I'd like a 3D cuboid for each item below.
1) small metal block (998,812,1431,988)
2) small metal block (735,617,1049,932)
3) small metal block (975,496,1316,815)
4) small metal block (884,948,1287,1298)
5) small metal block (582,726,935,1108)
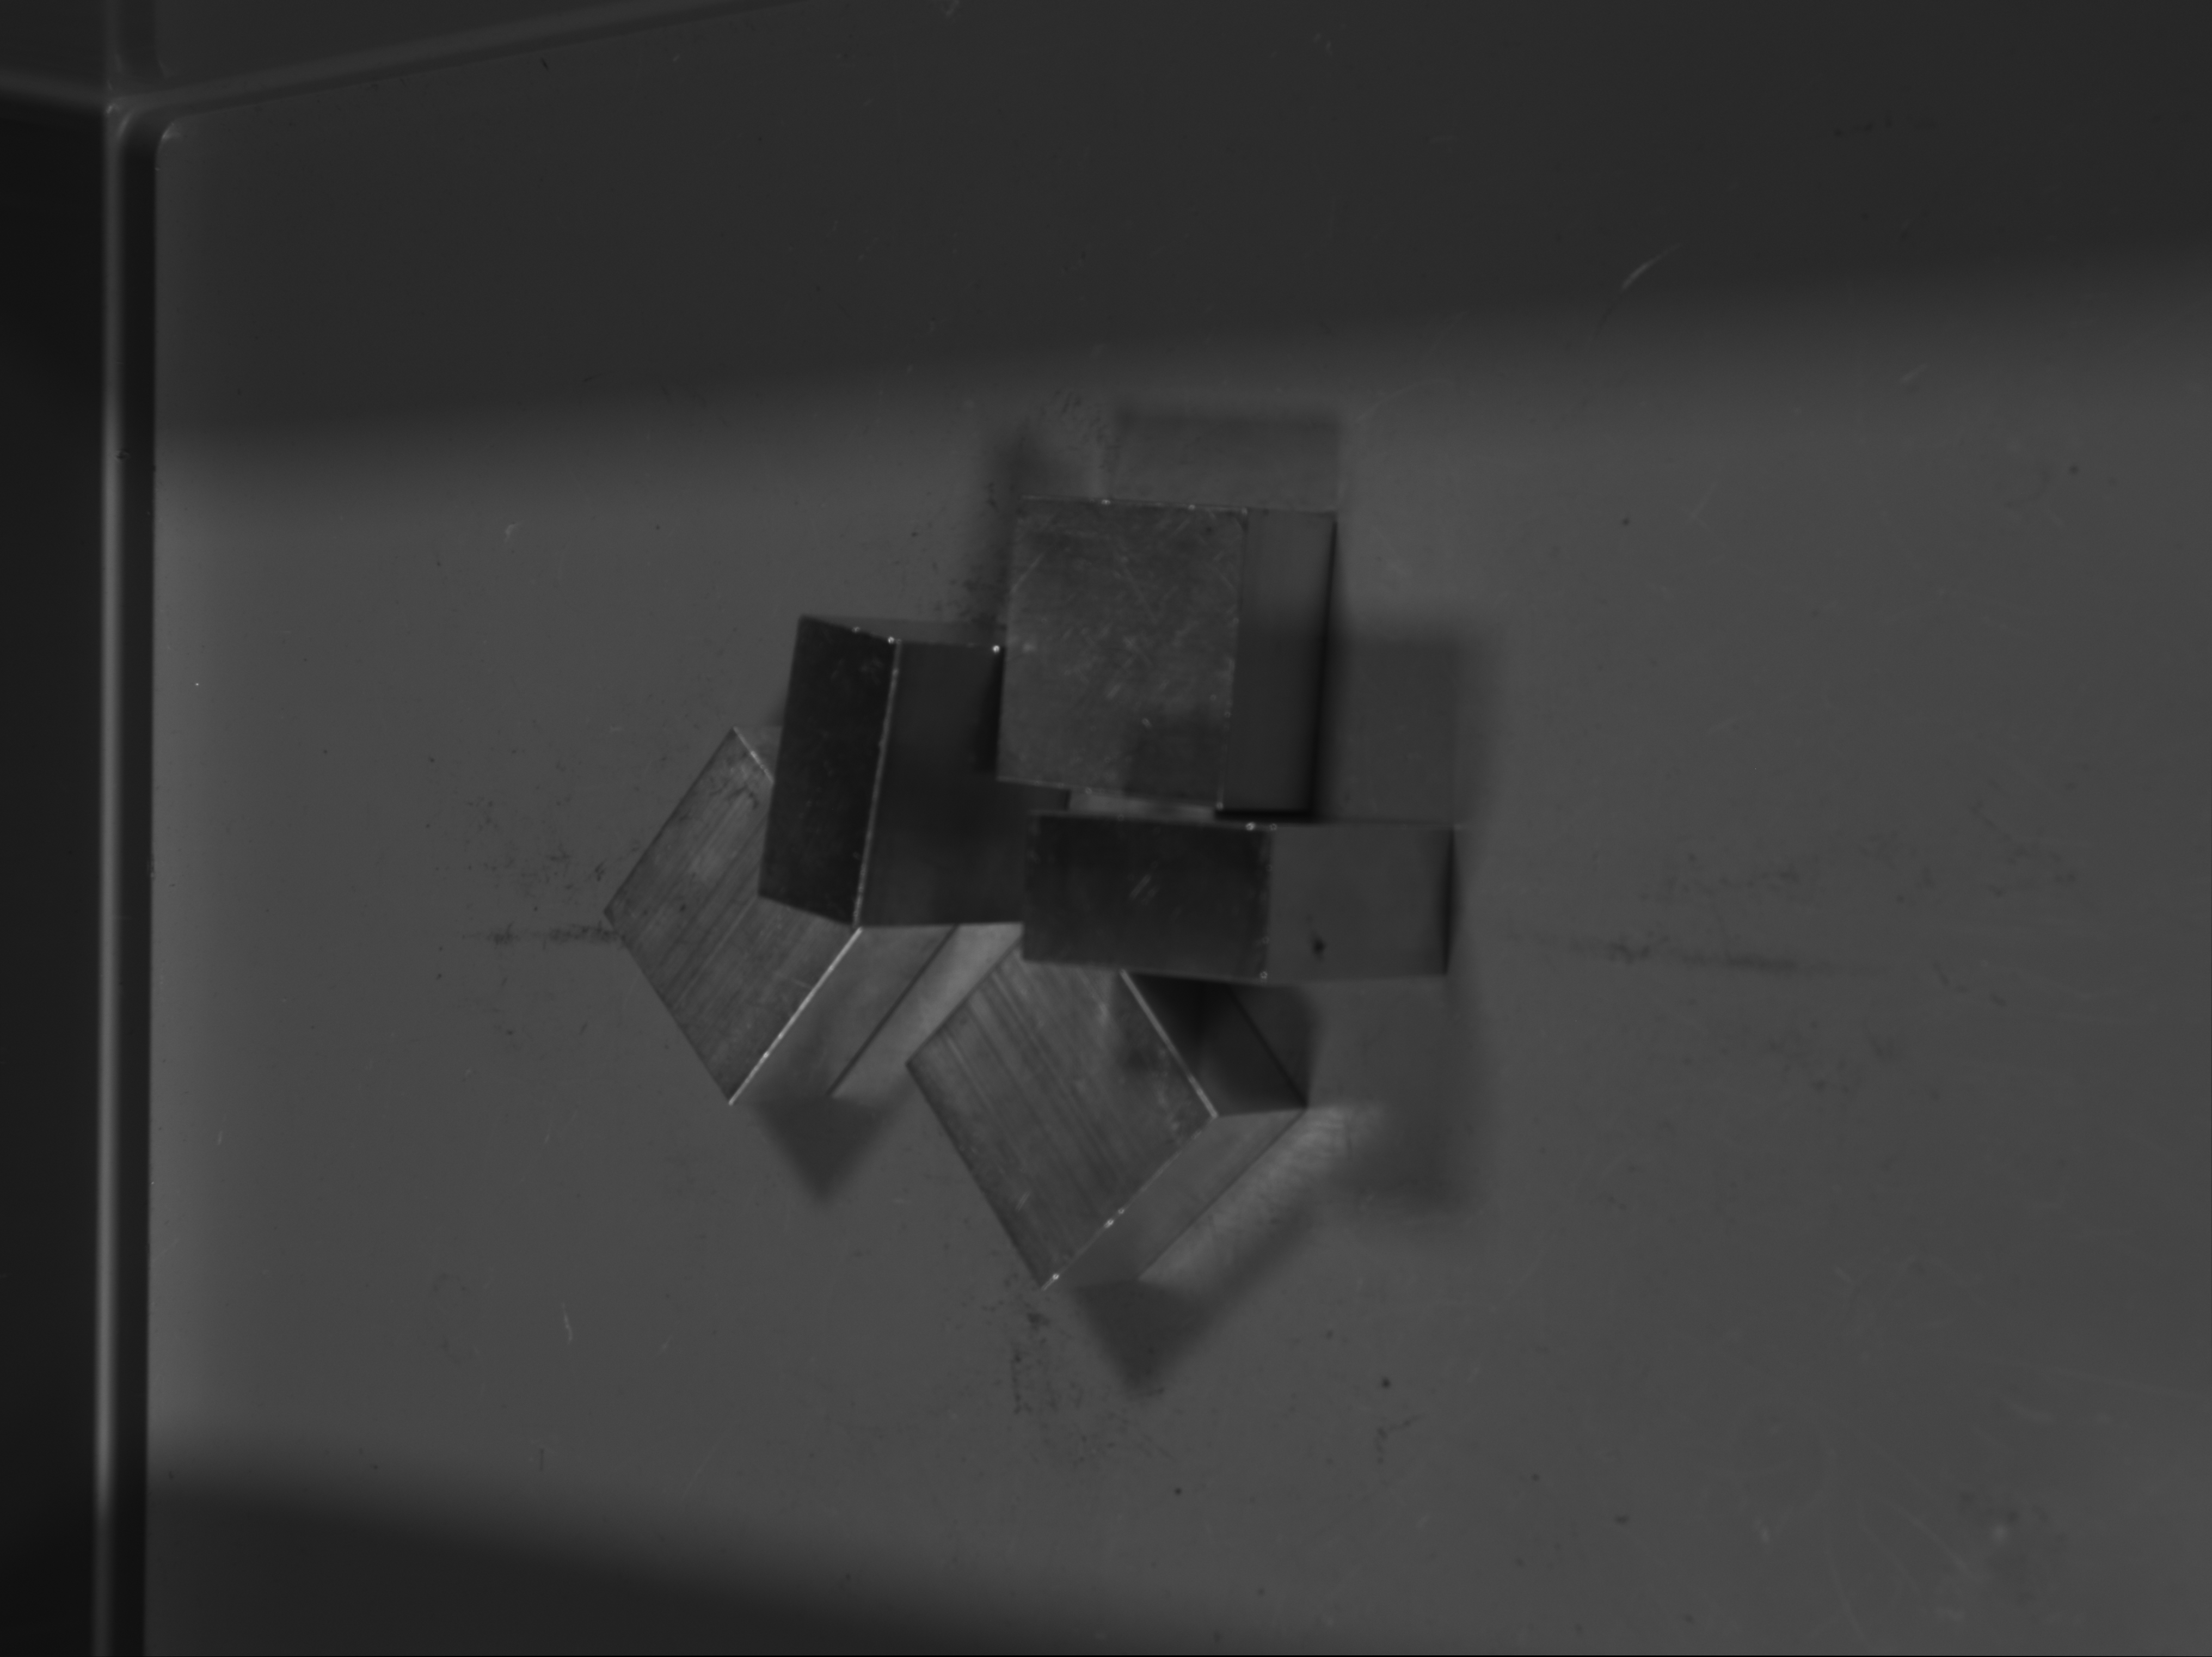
[{"bbox_3d":[0.018,0.011,0.603,0.050,0.050,0.025,4,92,39],"label":"small metal block"},{"bbox_3d":[-0.035,-0.009,0.647,0.025,0.050,0.050,16,100,38],"label":"small metal block"},{"bbox_3d":[0.006,-0.030,0.629,0.050,0.025,0.050,8,95,39],"label":"small metal block"},{"bbox_3d":[-0.004,0.046,0.637,0.050,0.025,0.050,-48,62,29],"label":"small metal block"},{"bbox_3d":[-0.065,0.016,0.688,0.050,0.025,0.050,-52,60,27],"label":"small metal block"}]
